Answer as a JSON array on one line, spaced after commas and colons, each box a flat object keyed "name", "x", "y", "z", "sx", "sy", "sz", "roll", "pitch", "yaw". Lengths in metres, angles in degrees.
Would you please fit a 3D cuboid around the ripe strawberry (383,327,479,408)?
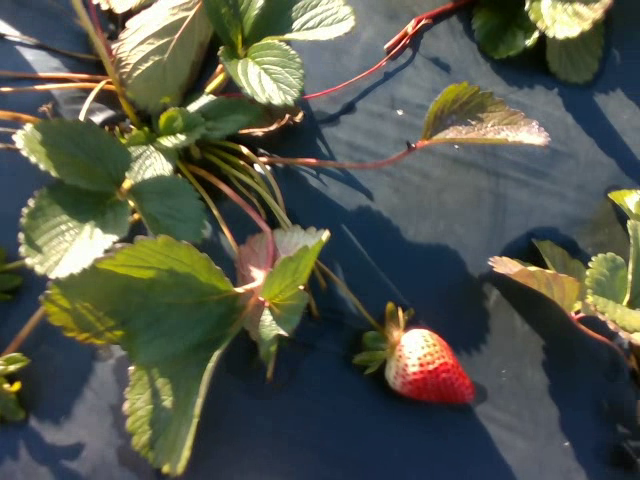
[{"name": "ripe strawberry", "x": 0.064, "y": 0.073, "z": 0.304, "sx": 0.063, "sy": 0.045, "sz": 0.044, "roll": 29, "pitch": 31, "yaw": 6}]
